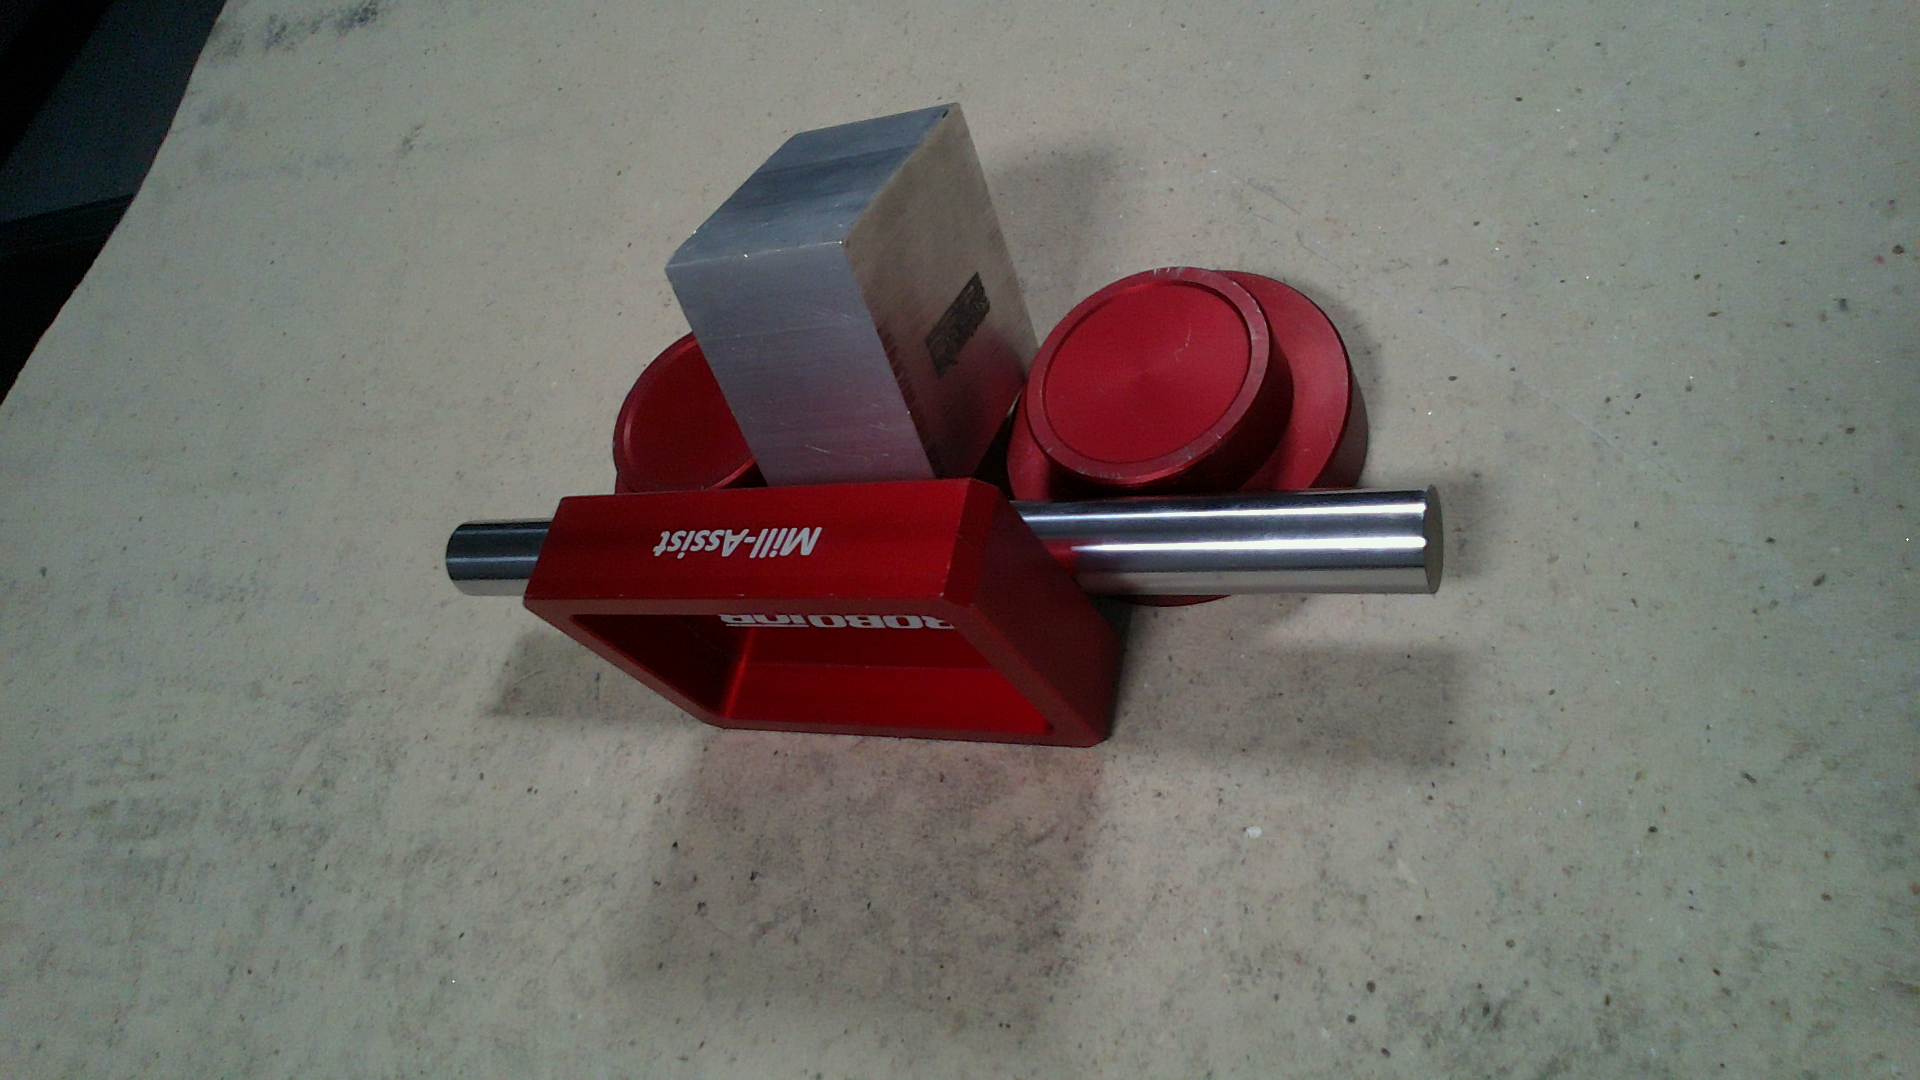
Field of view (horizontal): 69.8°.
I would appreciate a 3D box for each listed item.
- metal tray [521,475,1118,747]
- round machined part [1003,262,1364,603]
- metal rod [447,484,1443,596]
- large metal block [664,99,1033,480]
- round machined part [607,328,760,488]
[{"bbox_3d":[-0.035,0.021,0.358,0.130,0.090,0.030,-1,61,28],"label":"metal tray"},{"bbox_3d":[0.056,-0.036,0.373,0.098,0.042,0.098,-13,56,21],"label":"round machined part"},{"bbox_3d":[-0.025,0.003,0.379,0.299,0.025,0.025,-1,61,28],"label":"metal rod"},{"bbox_3d":[-0.024,-0.062,0.375,0.050,0.080,0.080,-2,37,27],"label":"large metal block"},{"bbox_3d":[-0.072,-0.032,0.440,0.098,0.042,0.098,-13,56,21],"label":"round machined part"}]
